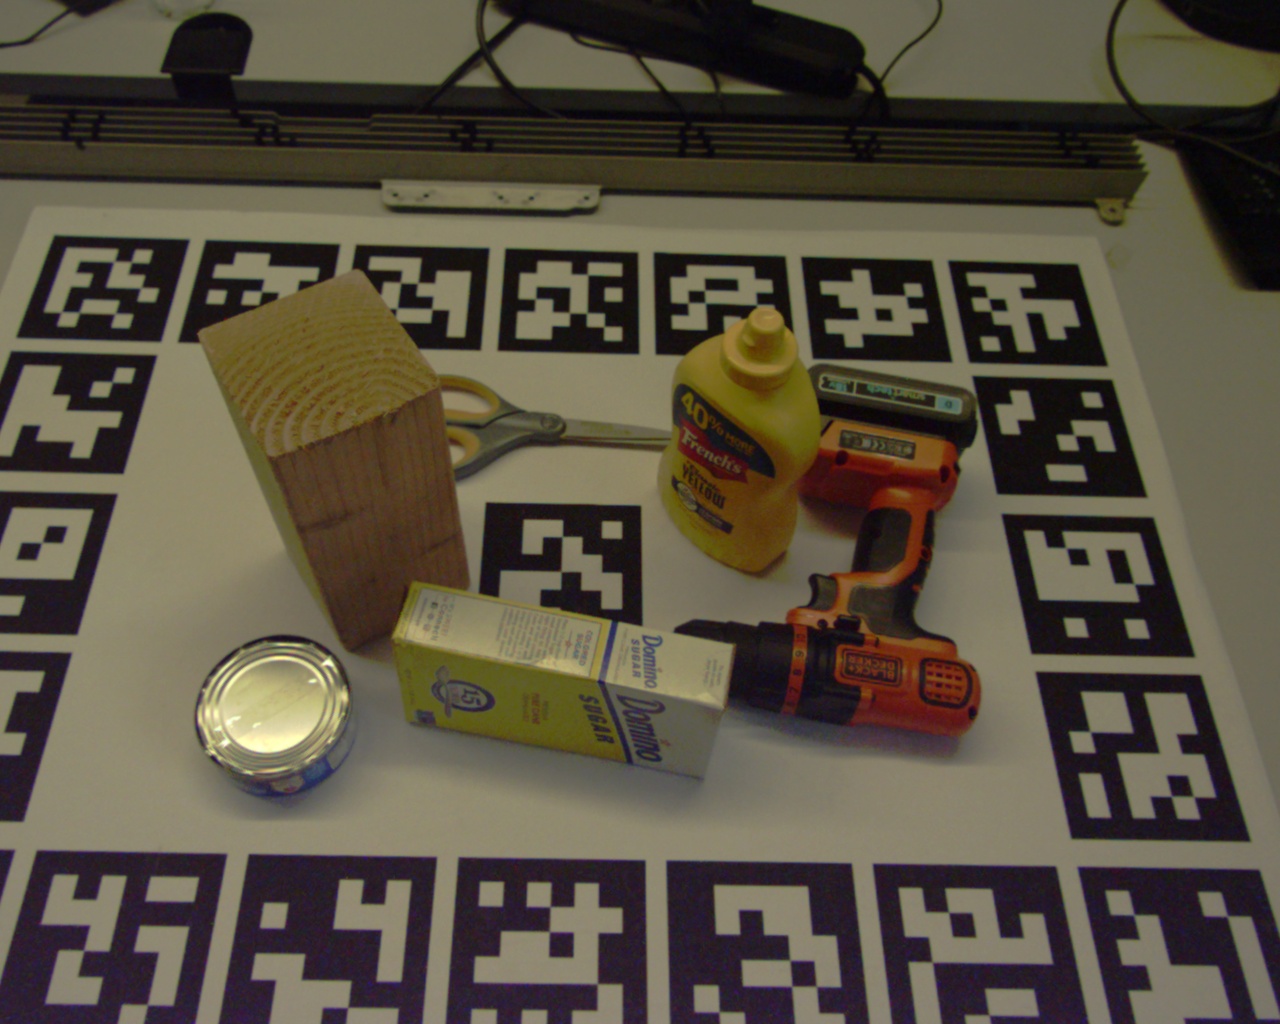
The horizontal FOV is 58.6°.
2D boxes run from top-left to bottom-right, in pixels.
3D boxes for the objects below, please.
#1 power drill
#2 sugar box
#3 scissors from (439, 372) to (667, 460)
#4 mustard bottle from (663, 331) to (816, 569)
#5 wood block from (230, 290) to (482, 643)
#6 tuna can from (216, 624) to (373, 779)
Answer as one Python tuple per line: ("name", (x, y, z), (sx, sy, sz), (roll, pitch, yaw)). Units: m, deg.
("power drill", (0.106, 0.030, 0.719), (0.185, 0.057, 0.187), (12, 66, 5))
("sugar box", (-0.034, 0.095, 0.657), (0.177, 0.093, 0.045), (12, 56, 3))
("scissors", (-0.082, -0.059, 0.790), (0.203, 0.016, 0.088), (3, 55, 0))
("mustard bottle", (0.061, -0.044, 0.694), (0.058, 0.191, 0.097), (-36, 68, -21))
("wood block", (-0.157, -0.018, 0.664), (0.090, 0.206, 0.090), (-25, 65, -17))
("tuna can", (-0.201, 0.111, 0.669), (0.085, 0.033, 0.086), (1, 60, -3))
